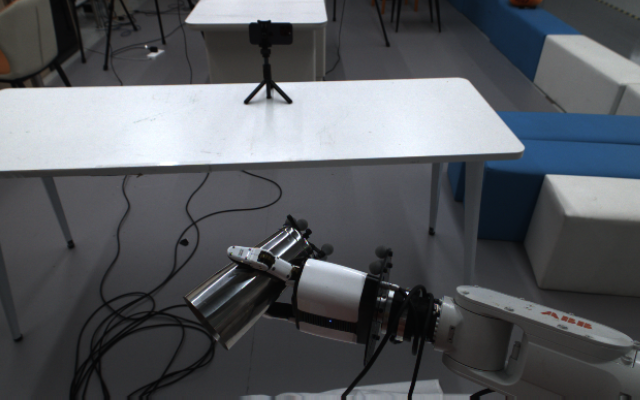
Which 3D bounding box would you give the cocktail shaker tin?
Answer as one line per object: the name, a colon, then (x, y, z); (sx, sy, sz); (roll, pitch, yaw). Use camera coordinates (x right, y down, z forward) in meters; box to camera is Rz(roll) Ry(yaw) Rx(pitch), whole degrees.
cocktail shaker tin: (-0.090, 0.108, 0.665); (0.170, 0.093, 0.093); (-38, 49, -24)
